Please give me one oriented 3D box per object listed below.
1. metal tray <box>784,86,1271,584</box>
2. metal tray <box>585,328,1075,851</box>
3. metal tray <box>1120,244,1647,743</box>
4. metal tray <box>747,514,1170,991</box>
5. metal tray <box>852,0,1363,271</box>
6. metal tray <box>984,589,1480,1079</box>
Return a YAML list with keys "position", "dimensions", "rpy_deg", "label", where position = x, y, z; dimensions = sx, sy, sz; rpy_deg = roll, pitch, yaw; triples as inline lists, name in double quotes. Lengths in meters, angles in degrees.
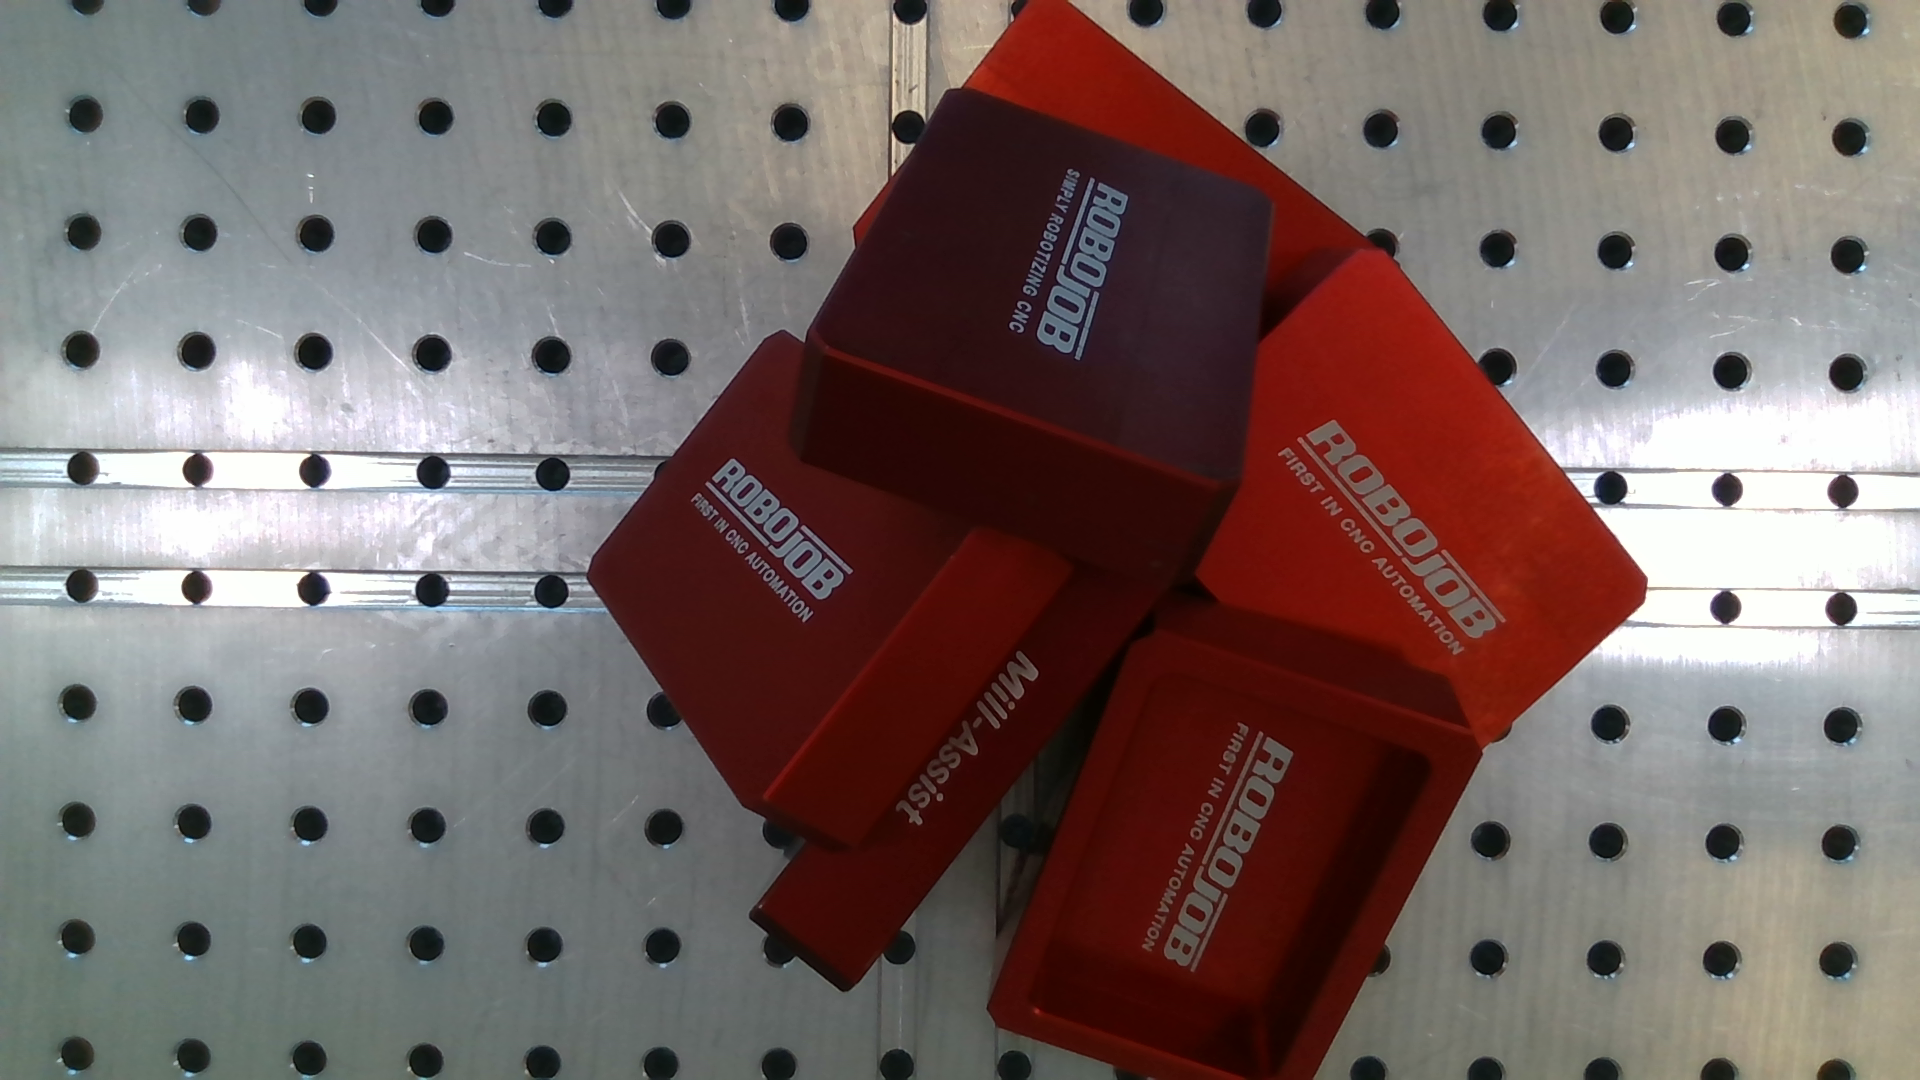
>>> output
- position: [0.022, -0.055, 0.322]
  dimensions: [0.090, 0.130, 0.030]
  rpy_deg: [19, 132, 0]
  label: "metal tray"
- position: [-0.040, 0.005, 0.350]
  dimensions: [0.090, 0.130, 0.030]
  rpy_deg: [-52, 129, 0]
  label: "metal tray"
- position: [0.112, -0.004, 0.376]
  dimensions: [0.090, 0.030, 0.130]
  rpy_deg: [-43, 104, 3]
  label: "metal tray"
- position: [0.001, 0.047, 0.364]
  dimensions: [0.030, 0.090, 0.130]
  rpy_deg: [38, 90, 0]
  label: "metal tray"
- position: [0.046, -0.078, 0.395]
  dimensions: [0.130, 0.030, 0.090]
  rpy_deg: [38, 91, 0]
  label: "metal tray"
- position: [0.068, 0.085, 0.371]
  dimensions: [0.090, 0.030, 0.130]
  rpy_deg: [18, 113, 0]
  label: "metal tray"
